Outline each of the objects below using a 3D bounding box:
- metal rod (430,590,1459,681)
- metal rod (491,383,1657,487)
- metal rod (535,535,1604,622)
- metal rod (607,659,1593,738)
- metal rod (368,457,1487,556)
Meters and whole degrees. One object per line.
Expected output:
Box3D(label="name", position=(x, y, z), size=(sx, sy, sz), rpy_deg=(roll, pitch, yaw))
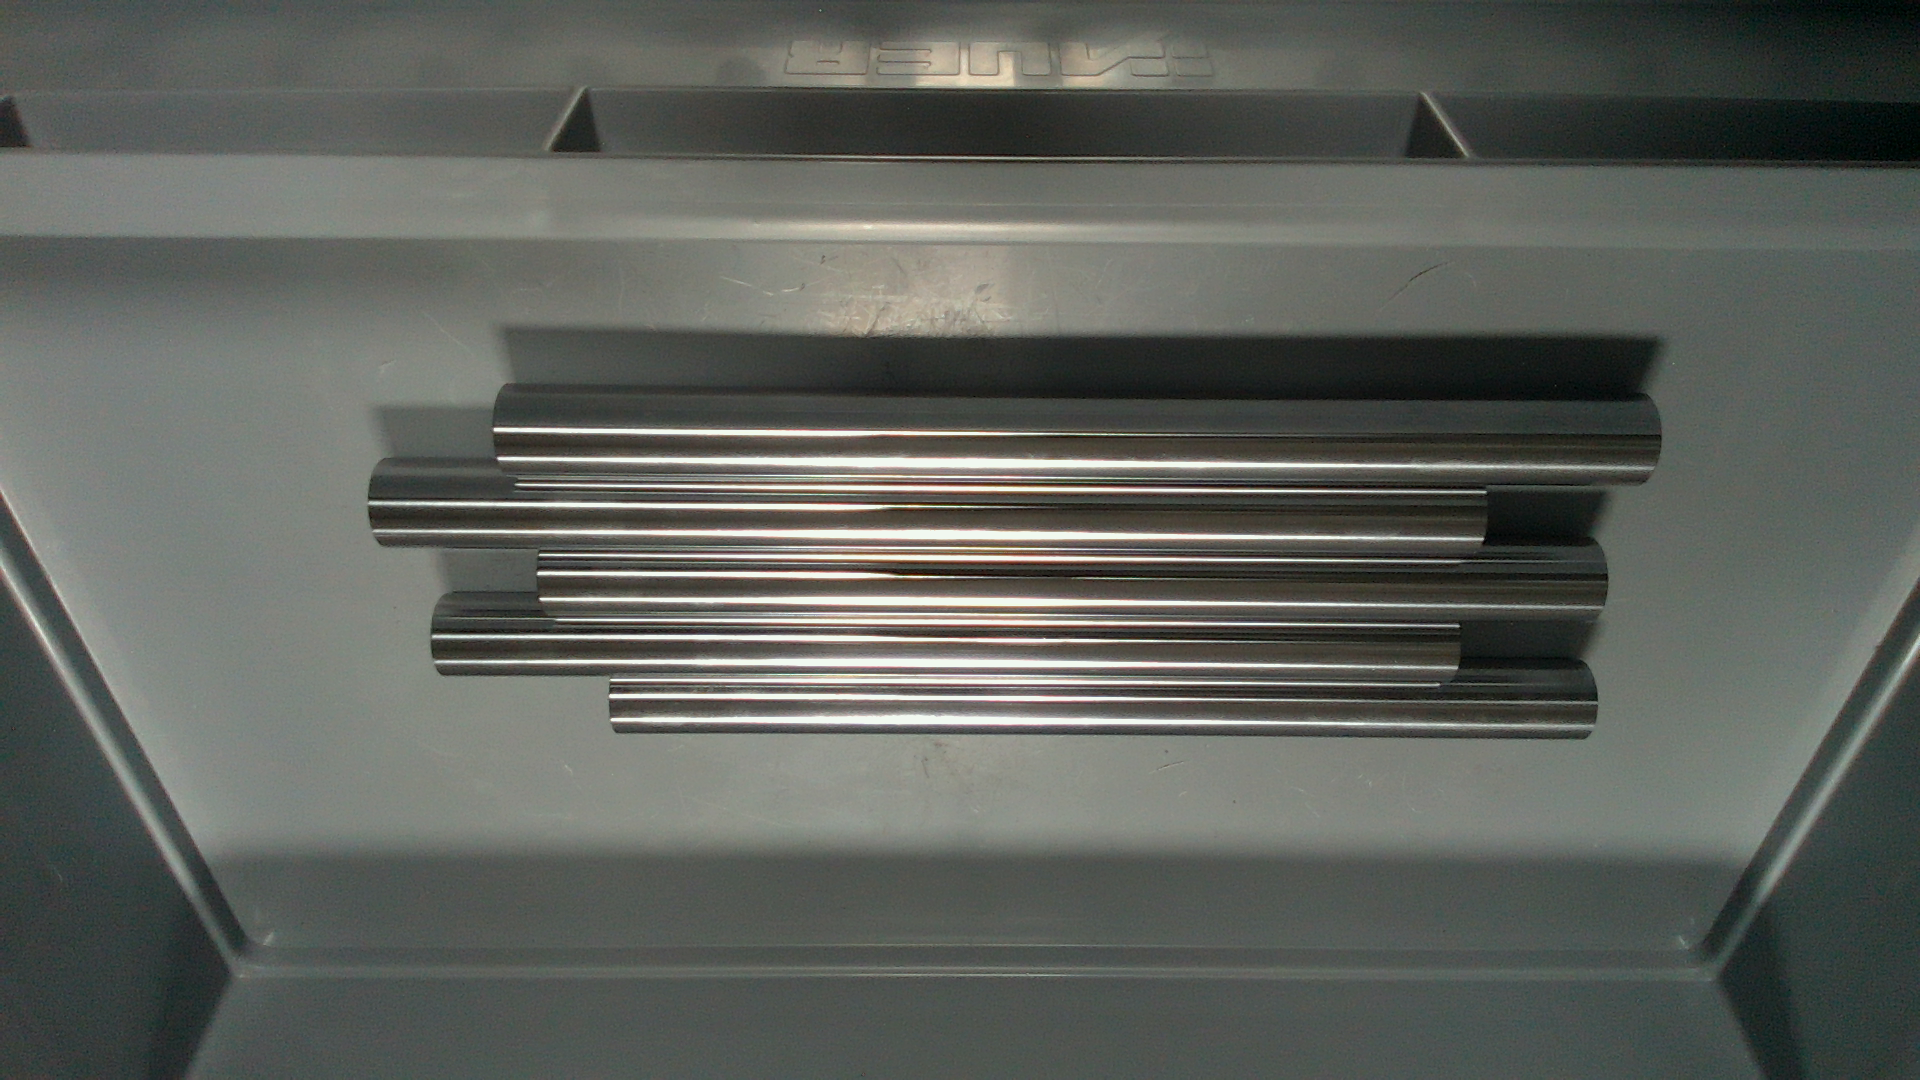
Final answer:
Box3D(label="metal rod", position=(-0.004, 0.029, 0.414), size=(0.300, 0.025, 0.025), rpy_deg=(0, 130, -1))
Box3D(label="metal rod", position=(0.030, -0.028, 0.366), size=(0.300, 0.025, 0.025), rpy_deg=(0, 130, -1))
Box3D(label="metal rod", position=(0.031, 0.010, 0.398), size=(0.300, 0.025, 0.025), rpy_deg=(0, 130, -1))
Box3D(label="metal rod", position=(0.043, 0.049, 0.430), size=(0.300, 0.025, 0.025), rpy_deg=(0, 130, -1))
Box3D(label="metal rod", position=(-0.008, -0.009, 0.381), size=(0.300, 0.025, 0.025), rpy_deg=(0, 130, -1))
